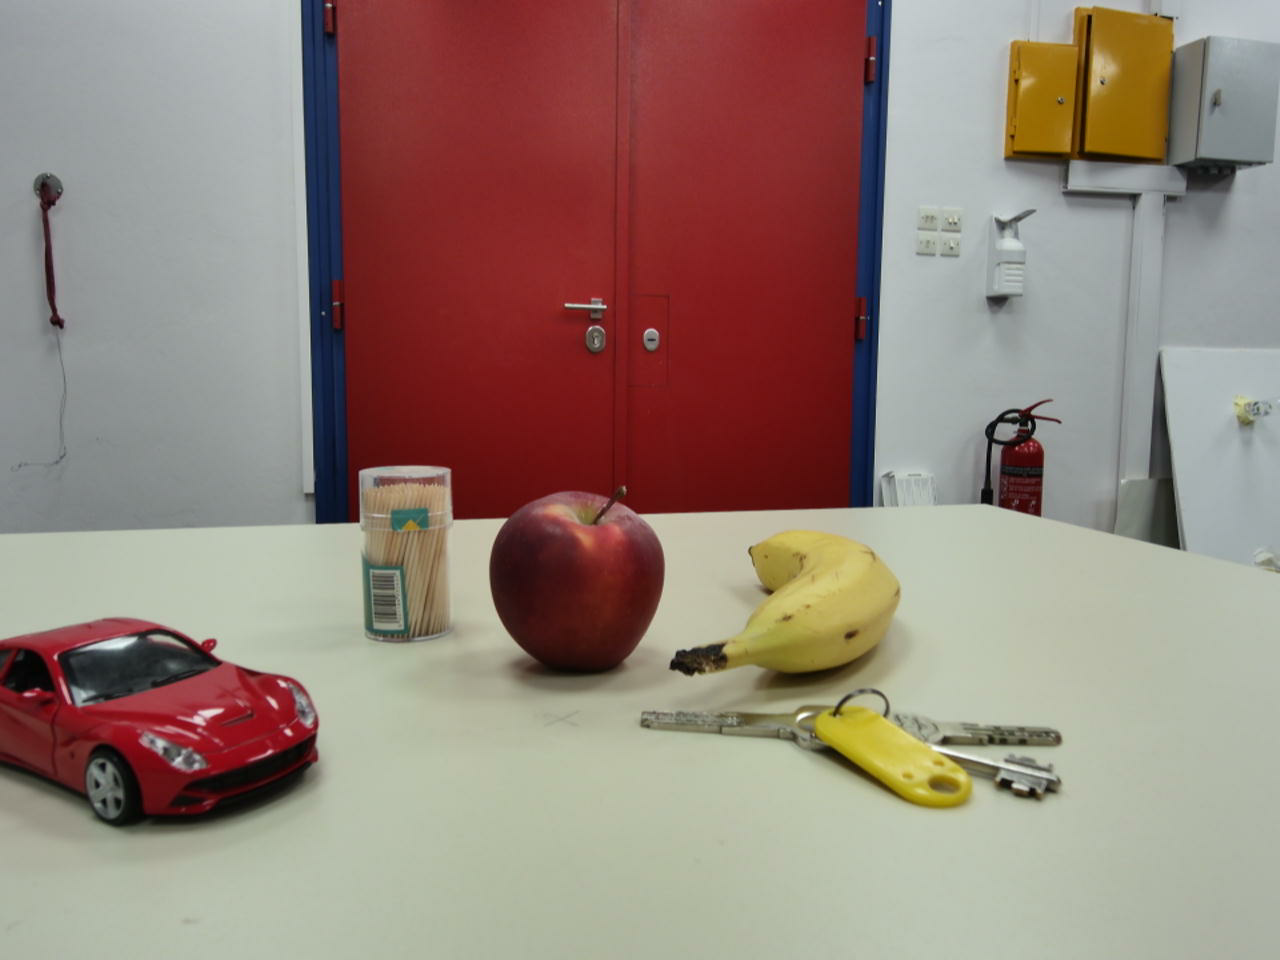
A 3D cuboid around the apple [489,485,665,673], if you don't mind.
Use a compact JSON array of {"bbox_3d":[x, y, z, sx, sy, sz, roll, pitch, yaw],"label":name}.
[{"bbox_3d":[-0.025,0.039,0.402,0.070,0.072,0.070,-1,4,0],"label":"apple"}]
